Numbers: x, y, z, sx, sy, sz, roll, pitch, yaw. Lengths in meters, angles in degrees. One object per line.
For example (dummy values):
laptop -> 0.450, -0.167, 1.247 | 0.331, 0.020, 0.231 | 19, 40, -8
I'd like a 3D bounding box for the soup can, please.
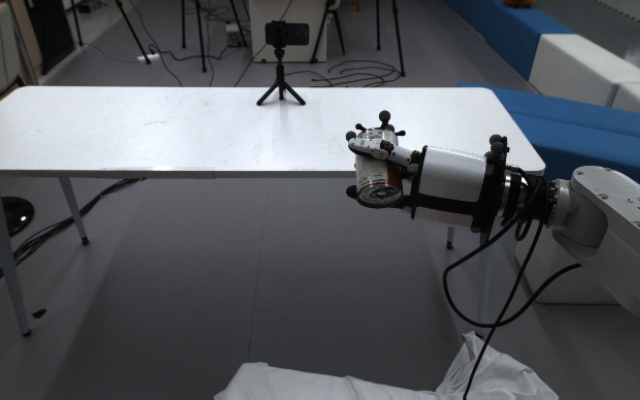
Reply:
soup can -> 0.087, -0.047, 0.717 | 0.067, 0.067, 0.101 | 1, 62, -2
